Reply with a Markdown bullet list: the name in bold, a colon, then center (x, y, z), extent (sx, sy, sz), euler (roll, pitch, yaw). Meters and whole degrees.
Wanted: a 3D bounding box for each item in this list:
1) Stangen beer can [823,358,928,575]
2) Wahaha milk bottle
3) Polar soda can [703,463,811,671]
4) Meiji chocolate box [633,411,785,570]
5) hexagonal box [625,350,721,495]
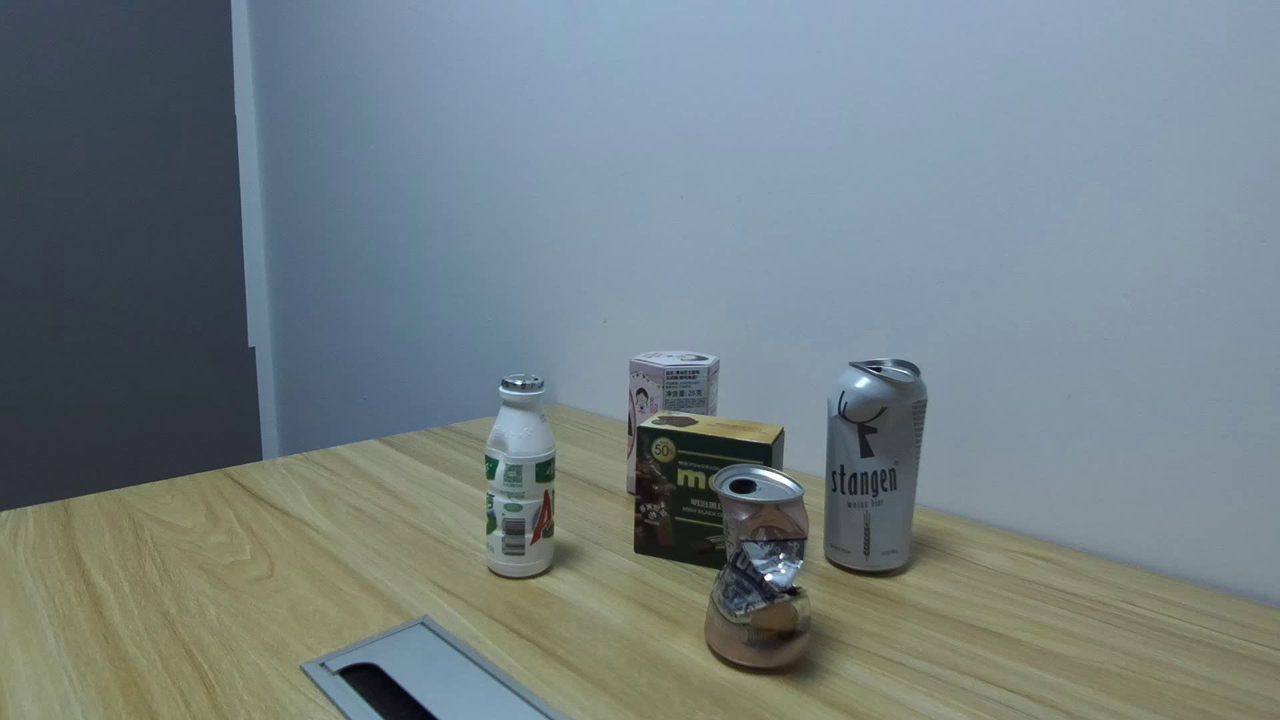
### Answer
- **Stangen beer can**: center (0.181, 0.082, 0.550), extent (0.065, 0.162, 0.077), euler (7, 12, 26)
- **Wahaha milk bottle**: center (-0.089, 0.091, 0.528), extent (0.053, 0.136, 0.053), euler (2, 11, 0)
- **Polar soda can**: center (0.072, 0.126, 0.428), extent (0.074, 0.114, 0.070), euler (4, 14, 35)
- **Meiji chocolate box**: center (0.055, 0.103, 0.560), extent (0.109, 0.109, 0.056), euler (6, 12, 20)
- **hexagonal box**: center (0.031, 0.064, 0.691), extent (0.083, 0.136, 0.091), euler (5, 10, 15)
